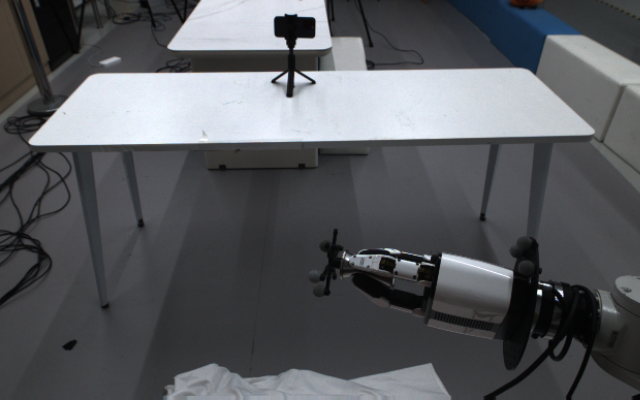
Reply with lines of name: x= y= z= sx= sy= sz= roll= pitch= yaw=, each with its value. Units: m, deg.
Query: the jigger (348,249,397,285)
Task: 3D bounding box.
jigger: x=0.070 y=0.084 z=0.623 sx=0.071 sy=0.043 sz=0.043 roll=7 pitch=35 yaw=16
